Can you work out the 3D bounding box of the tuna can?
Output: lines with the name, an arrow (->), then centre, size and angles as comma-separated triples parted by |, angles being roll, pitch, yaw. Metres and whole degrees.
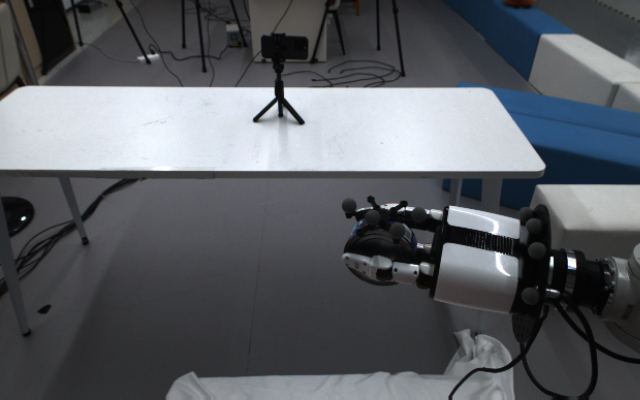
tuna can -> 0.076, 0.057, 0.584 | 0.085, 0.085, 0.034 | 10, 34, 11
